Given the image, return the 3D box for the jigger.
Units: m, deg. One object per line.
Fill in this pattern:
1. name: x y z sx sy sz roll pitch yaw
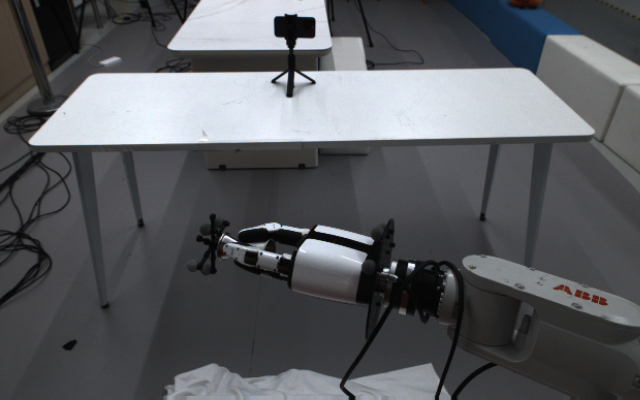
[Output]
1. jigger: -0.094 0.064 0.656 0.071 0.043 0.043 8 35 16
